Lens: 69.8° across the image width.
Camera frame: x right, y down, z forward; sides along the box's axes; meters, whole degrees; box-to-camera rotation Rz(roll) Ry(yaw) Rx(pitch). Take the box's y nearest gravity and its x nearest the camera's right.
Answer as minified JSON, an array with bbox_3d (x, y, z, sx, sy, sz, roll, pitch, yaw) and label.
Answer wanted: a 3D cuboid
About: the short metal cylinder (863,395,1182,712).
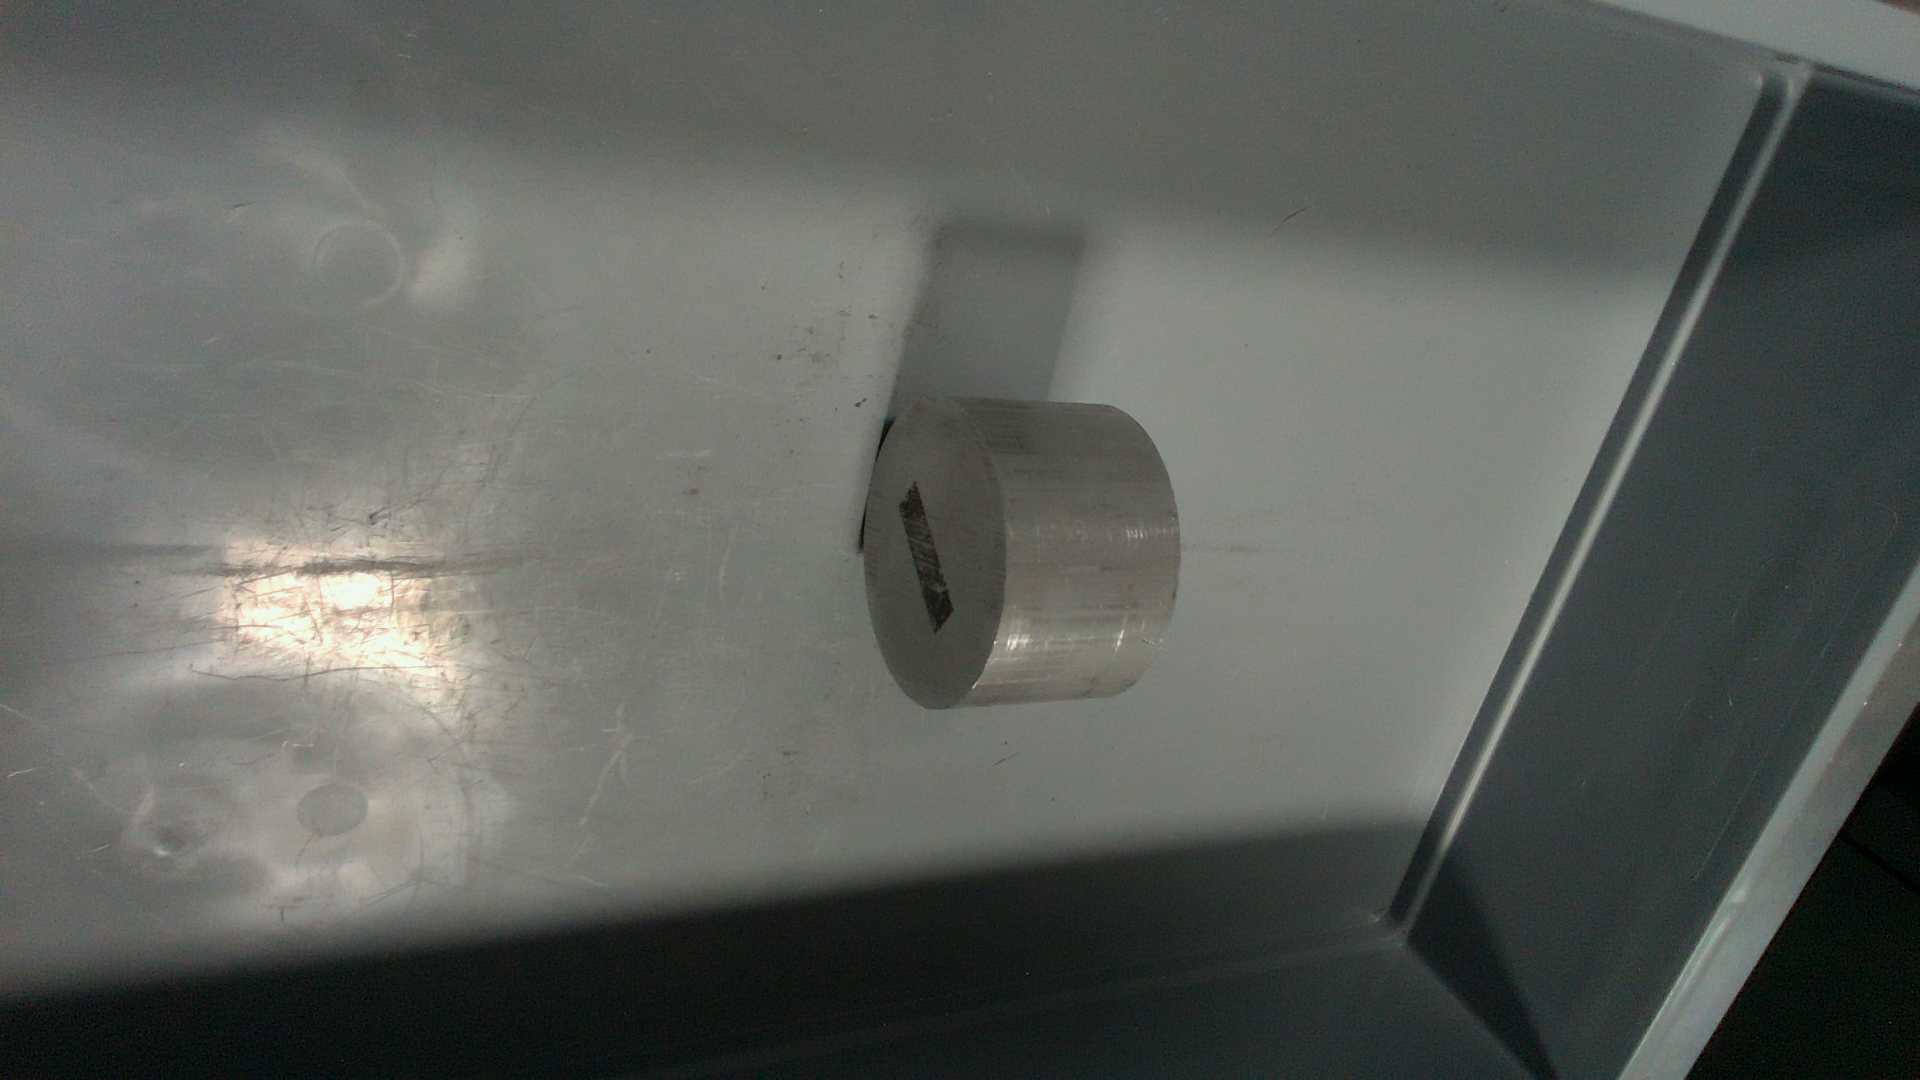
[{"bbox_3d":[0.014,0.003,0.361,0.050,0.080,0.080,0,118,-28],"label":"short metal cylinder"}]
